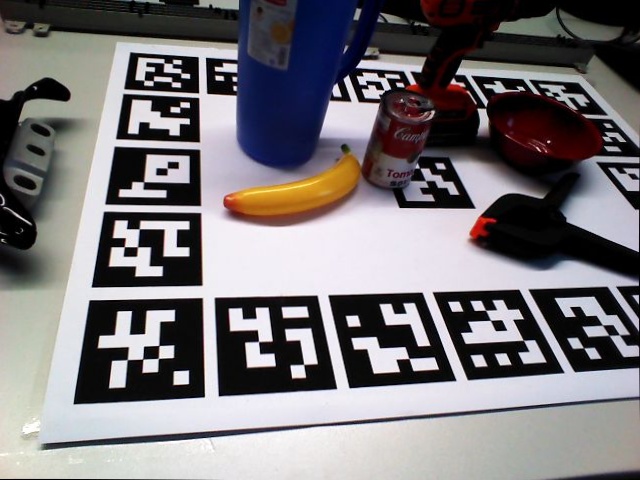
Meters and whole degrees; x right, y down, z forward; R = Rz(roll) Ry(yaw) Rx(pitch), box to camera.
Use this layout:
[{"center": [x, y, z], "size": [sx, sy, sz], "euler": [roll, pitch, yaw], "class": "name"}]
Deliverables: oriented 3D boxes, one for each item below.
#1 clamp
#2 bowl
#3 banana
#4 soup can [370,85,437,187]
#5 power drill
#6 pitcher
[{"center": [0.281, -0.024, 0.601], "size": [0.202, 0.037, 0.164], "euler": [-3, 53, -14], "class": "clamp"}, {"center": [0.312, -0.144, 0.713], "size": [0.162, 0.055, 0.160], "euler": [5, 49, -7], "class": "bowl"}, {"center": [-0.016, -0.062, 0.587], "size": [0.196, 0.039, 0.074], "euler": [-22, 48, -30], "class": "banana"}, {"center": [0.101, -0.124, 0.622], "size": [0.068, 0.102, 0.067], "euler": [5, 39, -5], "class": "soup can"}, {"center": [0.209, -0.241, 0.664], "size": [0.184, 0.188, 0.057], "euler": [-5, 50, -17], "class": "power drill"}, {"center": [-0.016, -0.215, 0.583], "size": [0.188, 0.244, 0.133], "euler": [-22, 53, -28], "class": "pitcher"}]
